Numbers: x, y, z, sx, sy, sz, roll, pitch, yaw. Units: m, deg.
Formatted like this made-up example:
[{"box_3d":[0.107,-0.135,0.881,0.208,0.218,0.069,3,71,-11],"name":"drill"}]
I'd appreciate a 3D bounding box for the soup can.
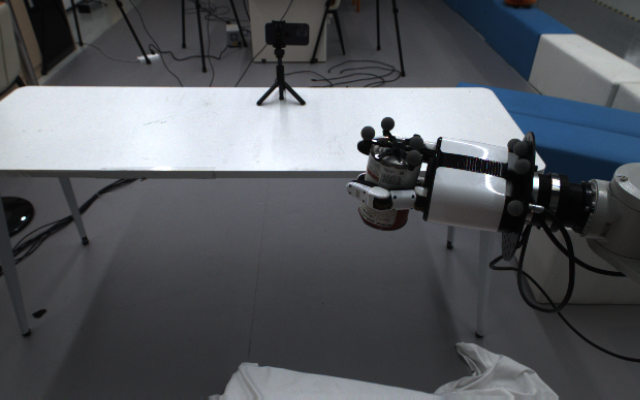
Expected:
[{"box_3d":[0.091,-0.020,0.627,0.067,0.101,0.067,5,36,-3],"name":"soup can"}]
